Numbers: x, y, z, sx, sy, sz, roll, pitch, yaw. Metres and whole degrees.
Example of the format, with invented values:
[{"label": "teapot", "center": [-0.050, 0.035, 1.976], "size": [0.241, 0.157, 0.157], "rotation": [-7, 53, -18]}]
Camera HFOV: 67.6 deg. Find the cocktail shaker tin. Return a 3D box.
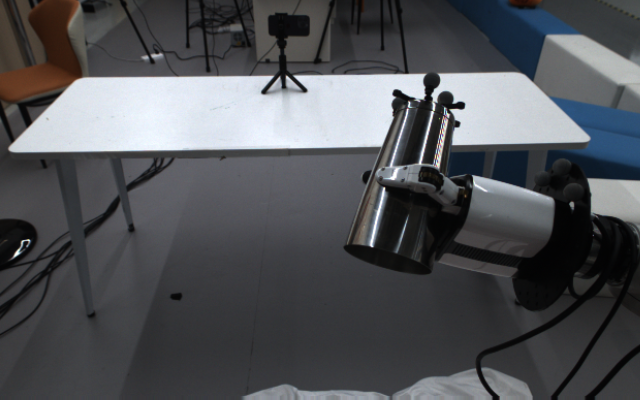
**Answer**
[{"label": "cocktail shaker tin", "center": [0.094, -0.015, 0.515], "size": [0.093, 0.093, 0.170], "rotation": [13, 74, 16]}]
